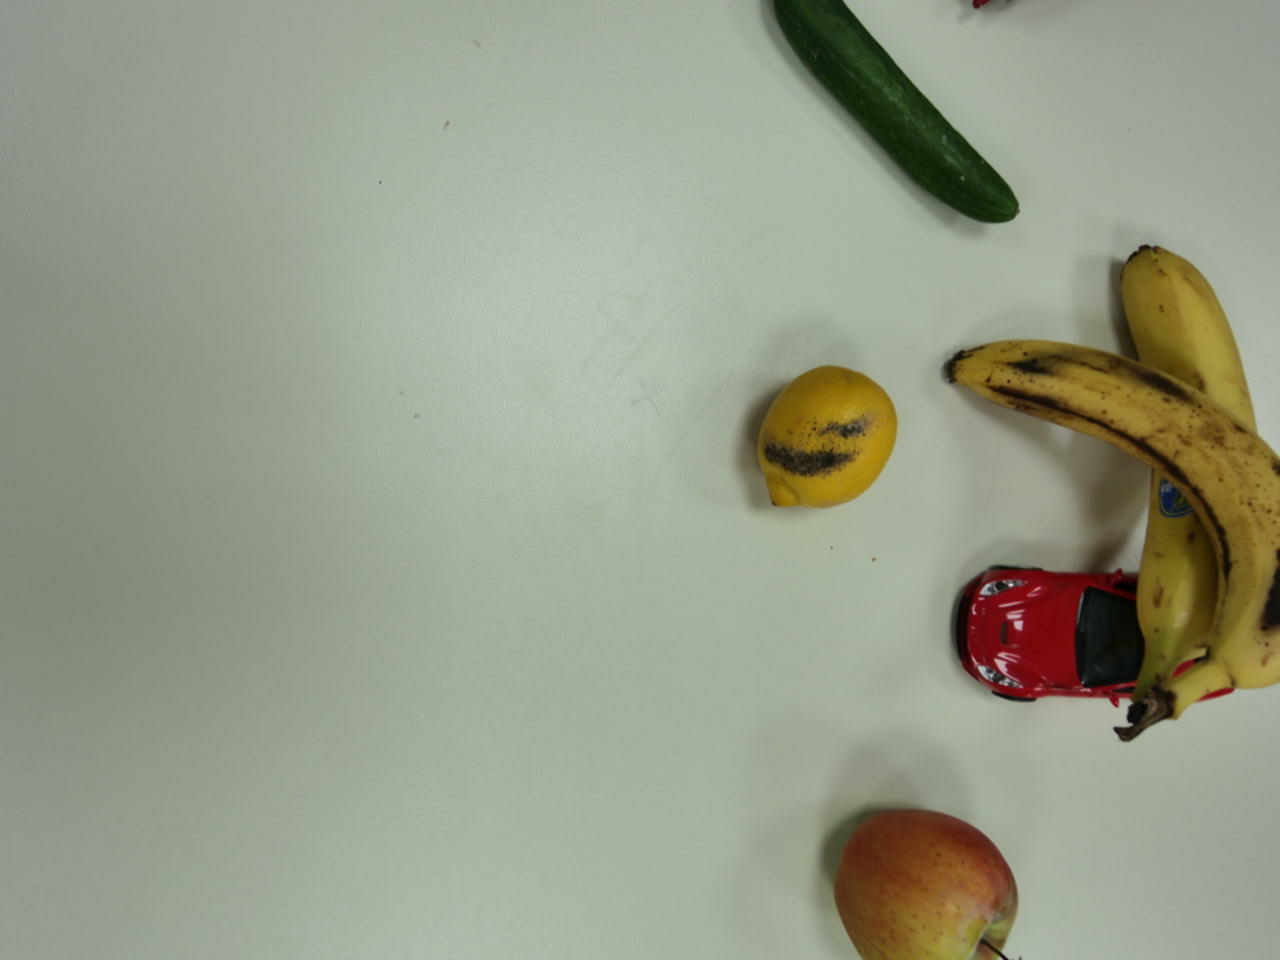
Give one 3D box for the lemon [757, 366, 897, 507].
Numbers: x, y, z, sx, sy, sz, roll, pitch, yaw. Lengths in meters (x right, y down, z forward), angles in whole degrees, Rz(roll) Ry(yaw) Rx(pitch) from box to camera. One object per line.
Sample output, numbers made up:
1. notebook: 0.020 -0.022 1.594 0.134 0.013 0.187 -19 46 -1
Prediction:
1. lemon: 0.081 -0.018 0.431 0.058 0.056 0.061 2 90 -12
